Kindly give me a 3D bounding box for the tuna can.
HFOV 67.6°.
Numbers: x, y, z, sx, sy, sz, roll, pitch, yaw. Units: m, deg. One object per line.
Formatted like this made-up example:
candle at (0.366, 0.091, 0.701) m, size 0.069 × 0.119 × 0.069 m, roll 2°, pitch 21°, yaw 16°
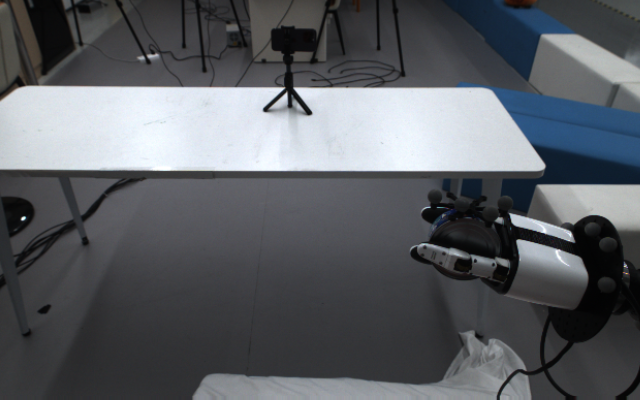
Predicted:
tuna can at (0.177, 0.051, 0.596) m, size 0.085 × 0.085 × 0.034 m, roll 9°, pitch 24°, yaw 10°
